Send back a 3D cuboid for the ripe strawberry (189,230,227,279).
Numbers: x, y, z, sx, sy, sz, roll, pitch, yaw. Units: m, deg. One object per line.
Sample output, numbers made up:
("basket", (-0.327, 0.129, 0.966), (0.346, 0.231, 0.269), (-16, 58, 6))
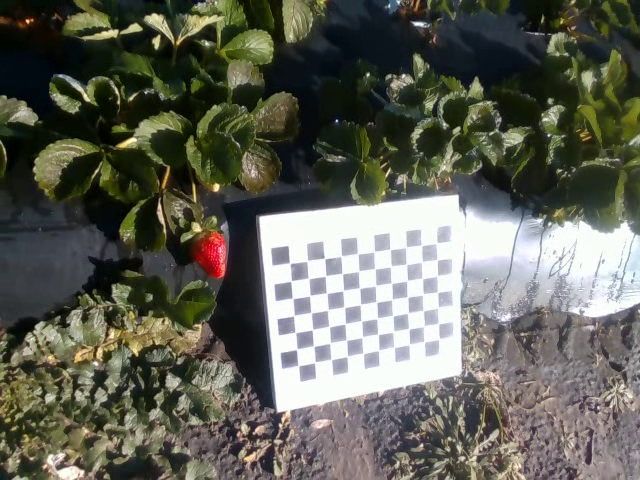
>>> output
("ripe strawberry", (-0.135, 0.019, 0.712), (0.048, 0.069, 0.040), (-25, 10, -12))
